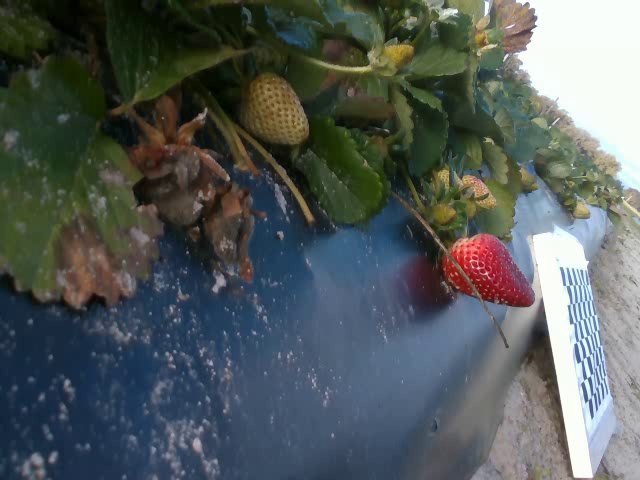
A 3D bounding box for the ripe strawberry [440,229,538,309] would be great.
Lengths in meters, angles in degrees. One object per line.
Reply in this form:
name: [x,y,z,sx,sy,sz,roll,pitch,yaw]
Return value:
ripe strawberry: [0.123,0.023,0.419,0.067,0.045,0.052,42,20,23]
